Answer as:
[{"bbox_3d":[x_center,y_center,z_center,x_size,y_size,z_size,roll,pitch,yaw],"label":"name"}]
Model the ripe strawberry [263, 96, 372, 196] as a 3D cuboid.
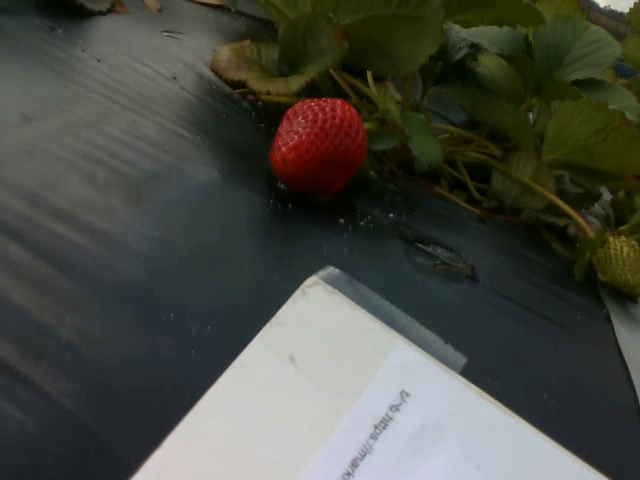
[{"bbox_3d":[-0.001,-0.031,0.210,0.036,0.040,0.046,12,14,27],"label":"ripe strawberry"}]
